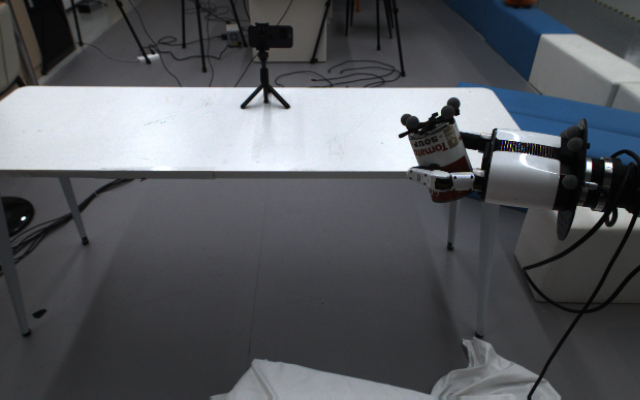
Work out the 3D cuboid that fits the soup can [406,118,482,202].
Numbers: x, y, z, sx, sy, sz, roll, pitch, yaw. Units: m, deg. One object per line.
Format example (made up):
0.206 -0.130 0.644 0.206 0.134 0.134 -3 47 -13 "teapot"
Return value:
0.173 -0.057 0.674 0.067 0.101 0.067 -23 16 7 "soup can"
